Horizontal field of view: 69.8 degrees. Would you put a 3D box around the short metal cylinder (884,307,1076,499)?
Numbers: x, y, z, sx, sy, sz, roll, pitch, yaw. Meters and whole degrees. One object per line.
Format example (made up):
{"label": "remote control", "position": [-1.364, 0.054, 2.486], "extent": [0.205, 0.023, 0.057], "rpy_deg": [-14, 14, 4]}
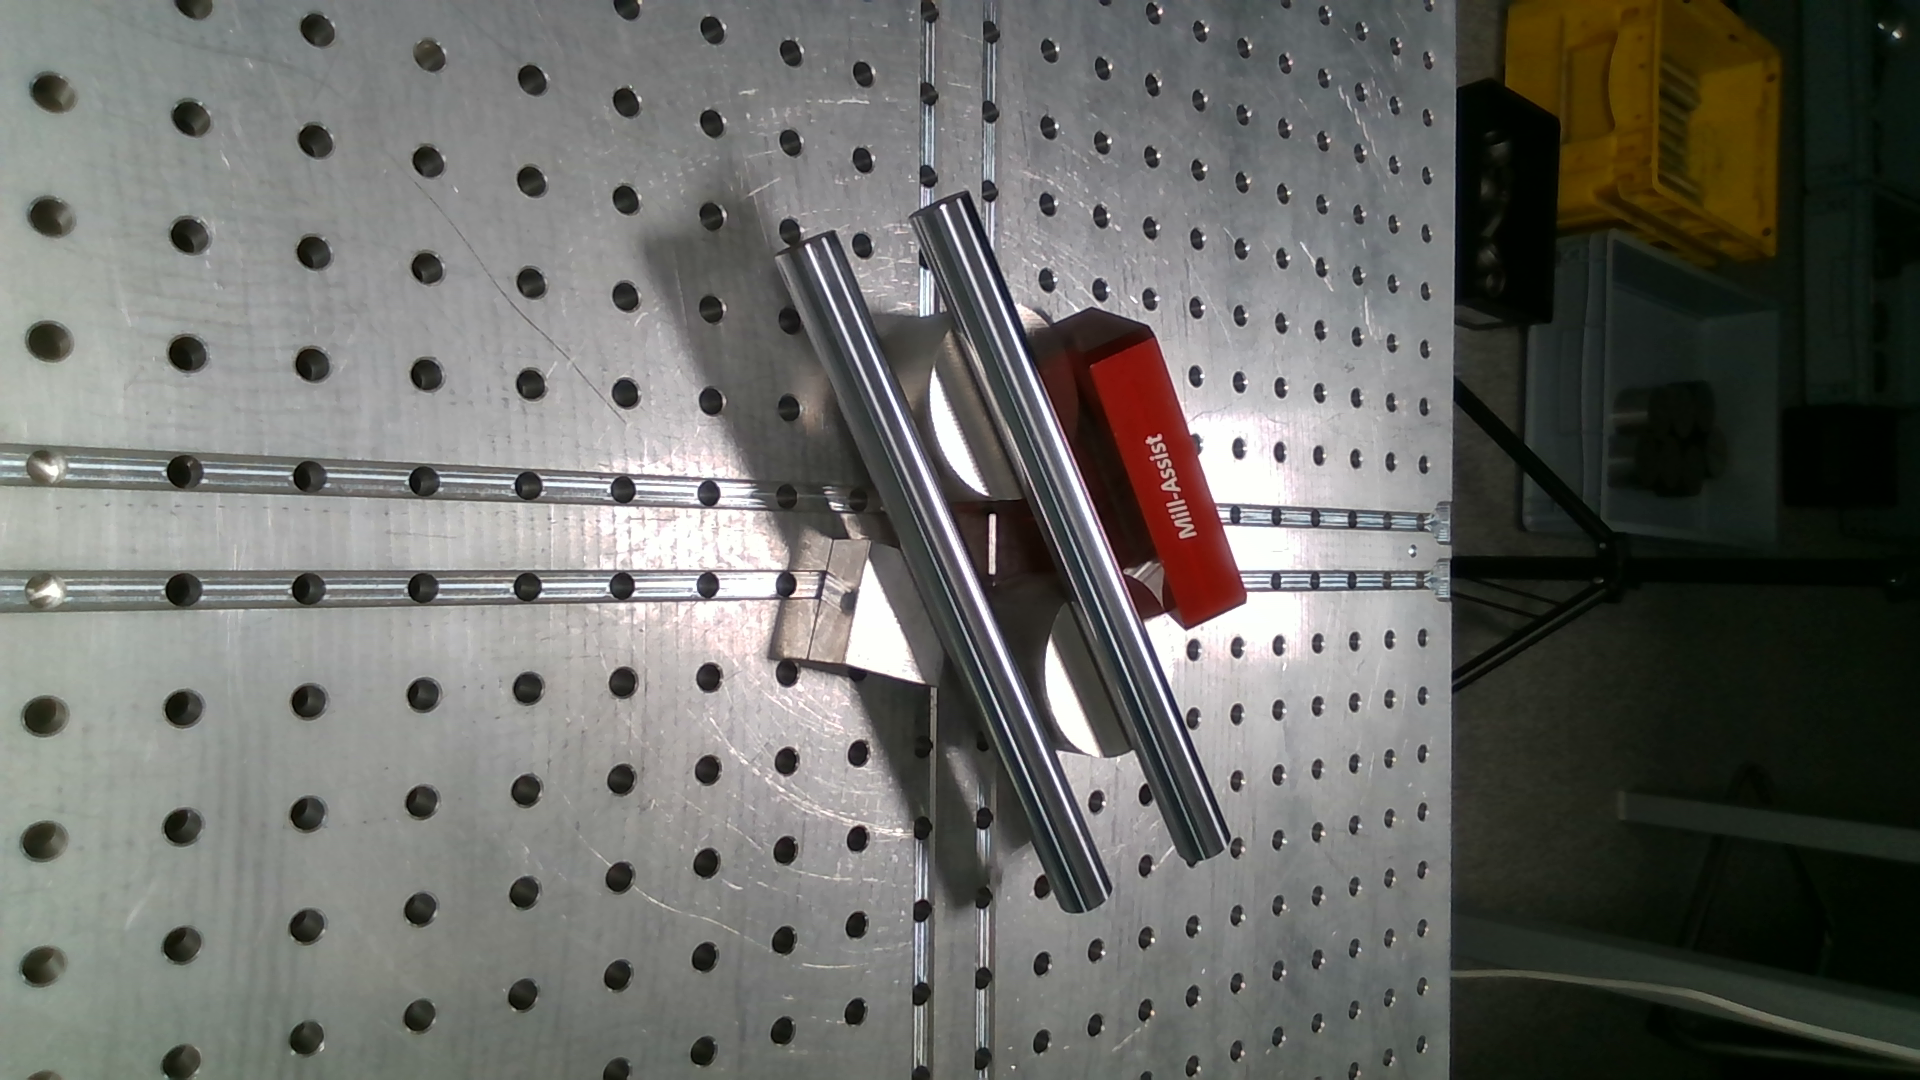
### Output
{"label": "short metal cylinder", "position": [0.002, -0.056, 0.572], "extent": [0.080, 0.050, 0.080], "rpy_deg": [0, 90, -40]}

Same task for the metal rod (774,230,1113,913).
{"label": "metal rod", "position": [-0.001, 0.023, 0.551], "extent": [0.025, 0.025, 0.301], "rpy_deg": [-36, 112, -34]}

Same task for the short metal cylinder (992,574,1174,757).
{"label": "short metal cylinder", "position": [0.049, 0.054, 0.612], "extent": [0.080, 0.050, 0.080], "rpy_deg": [0, 90, -40]}

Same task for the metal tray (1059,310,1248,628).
{"label": "metal tray", "position": [0.079, -0.034, 0.608], "extent": [0.030, 0.090, 0.130], "rpy_deg": [-24, 108, -4]}

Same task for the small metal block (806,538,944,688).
{"label": "small metal block", "position": [-0.030, 0.030, 0.560], "extent": [0.050, 0.025, 0.050], "rpy_deg": [19, 78, -39]}

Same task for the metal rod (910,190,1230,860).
{"label": "metal rod", "position": [0.050, 0.004, 0.562], "extent": [0.025, 0.025, 0.301], "rpy_deg": [-37, 113, -34]}
